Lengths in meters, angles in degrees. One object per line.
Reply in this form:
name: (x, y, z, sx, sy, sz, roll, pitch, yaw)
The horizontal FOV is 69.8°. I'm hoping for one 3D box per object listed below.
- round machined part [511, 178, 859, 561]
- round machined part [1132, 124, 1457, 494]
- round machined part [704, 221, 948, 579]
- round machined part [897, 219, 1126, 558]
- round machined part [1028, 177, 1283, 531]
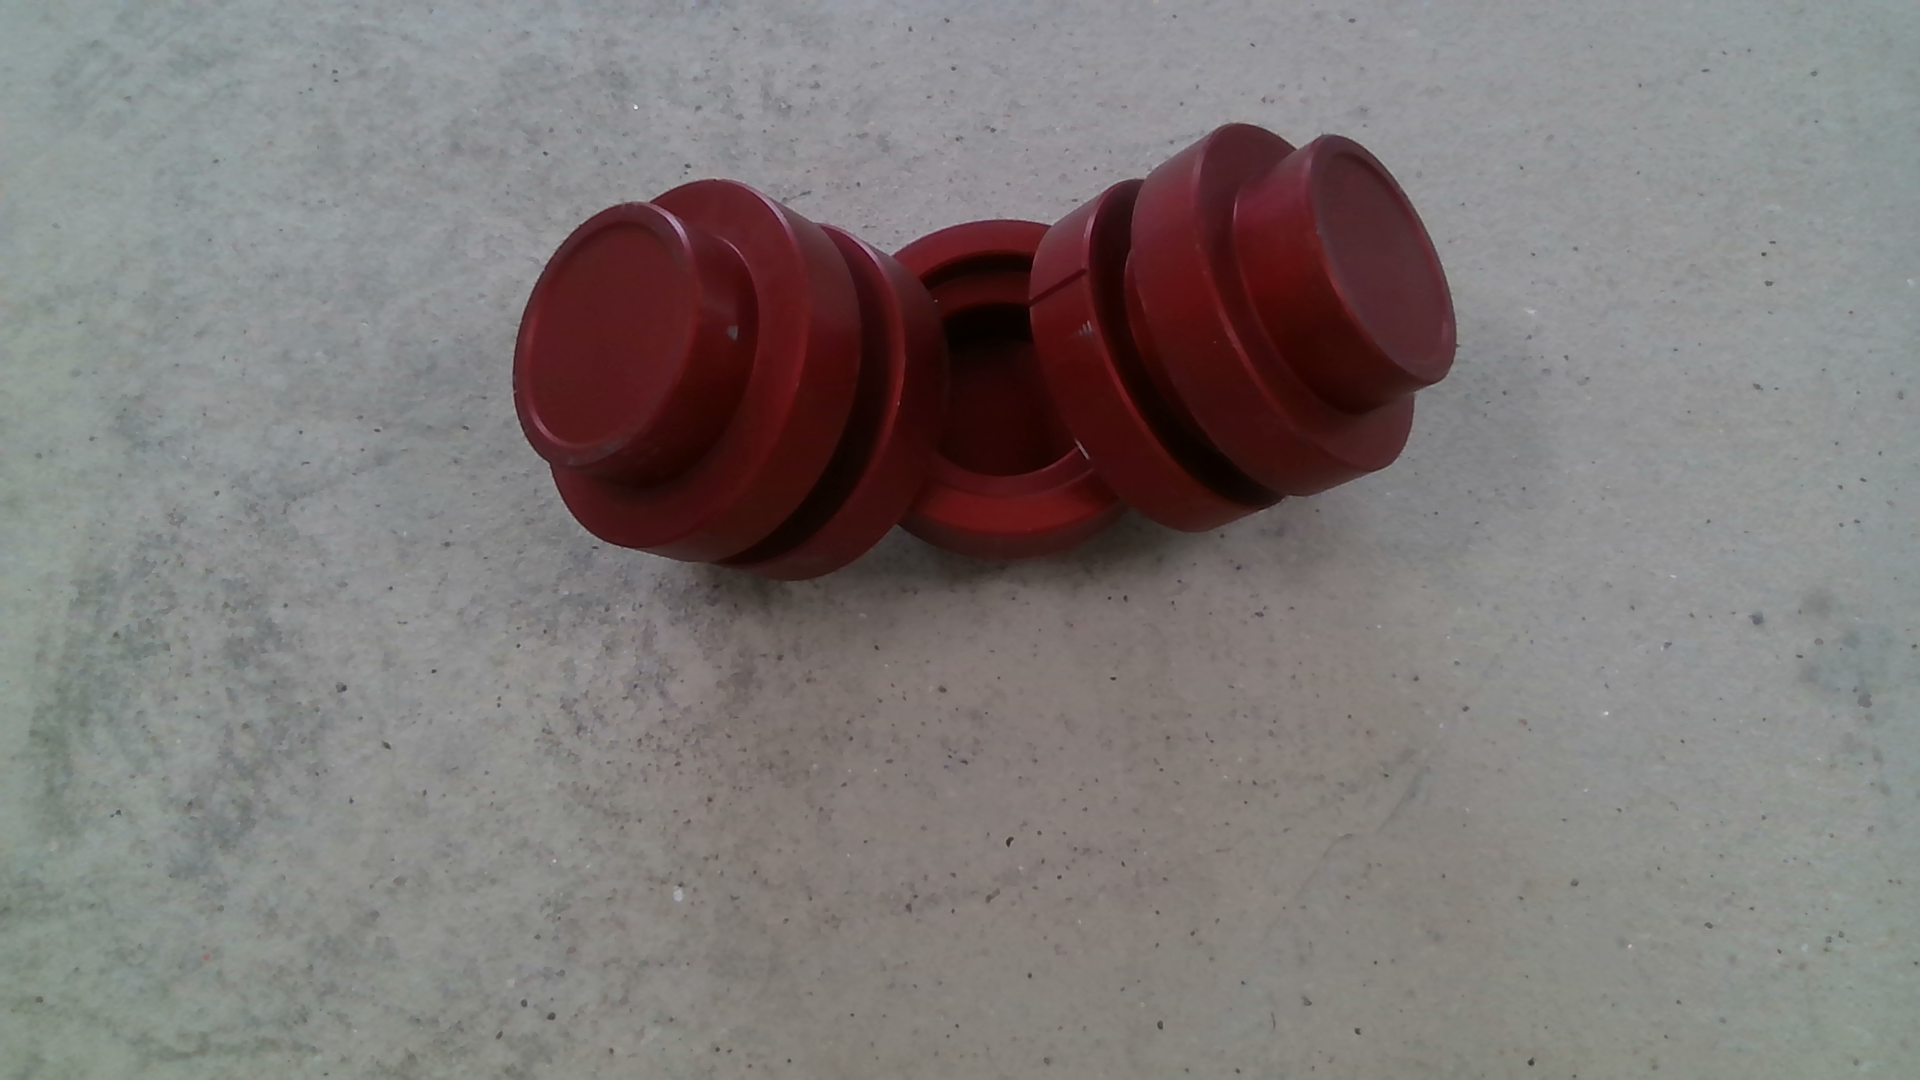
round machined part: (-0.076, -0.047, 0.352, 0.098, 0.042, 0.098, -10, 73, 34)
round machined part: (0.092, -0.064, 0.358, 0.098, 0.042, 0.098, 22, 57, -38)
round machined part: (-0.055, -0.041, 0.375, 0.098, 0.042, 0.098, -11, 72, 35)
round machined part: (0.013, -0.040, 0.402, 0.098, 0.042, 0.098, 0, 70, 0)
round machined part: (0.067, -0.055, 0.377, 0.098, 0.042, 0.098, 21, 58, -38)
